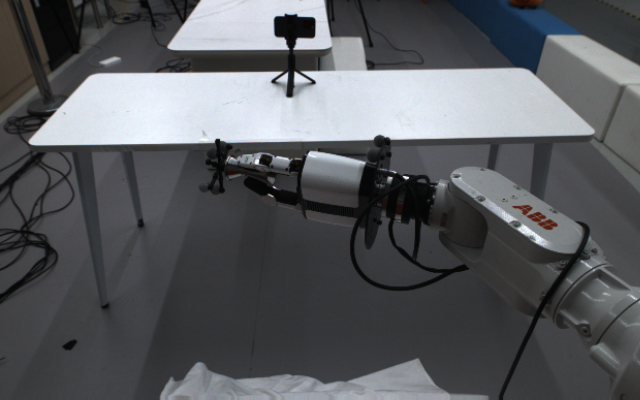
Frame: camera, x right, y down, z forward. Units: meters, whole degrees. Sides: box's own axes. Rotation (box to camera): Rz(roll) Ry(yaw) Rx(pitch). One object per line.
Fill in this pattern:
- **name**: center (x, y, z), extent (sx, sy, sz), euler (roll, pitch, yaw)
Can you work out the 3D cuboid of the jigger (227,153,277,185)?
- **jigger**: center (-0.098, -0.048, 0.729), extent (0.071, 0.043, 0.043), euler (7, 35, 13)
